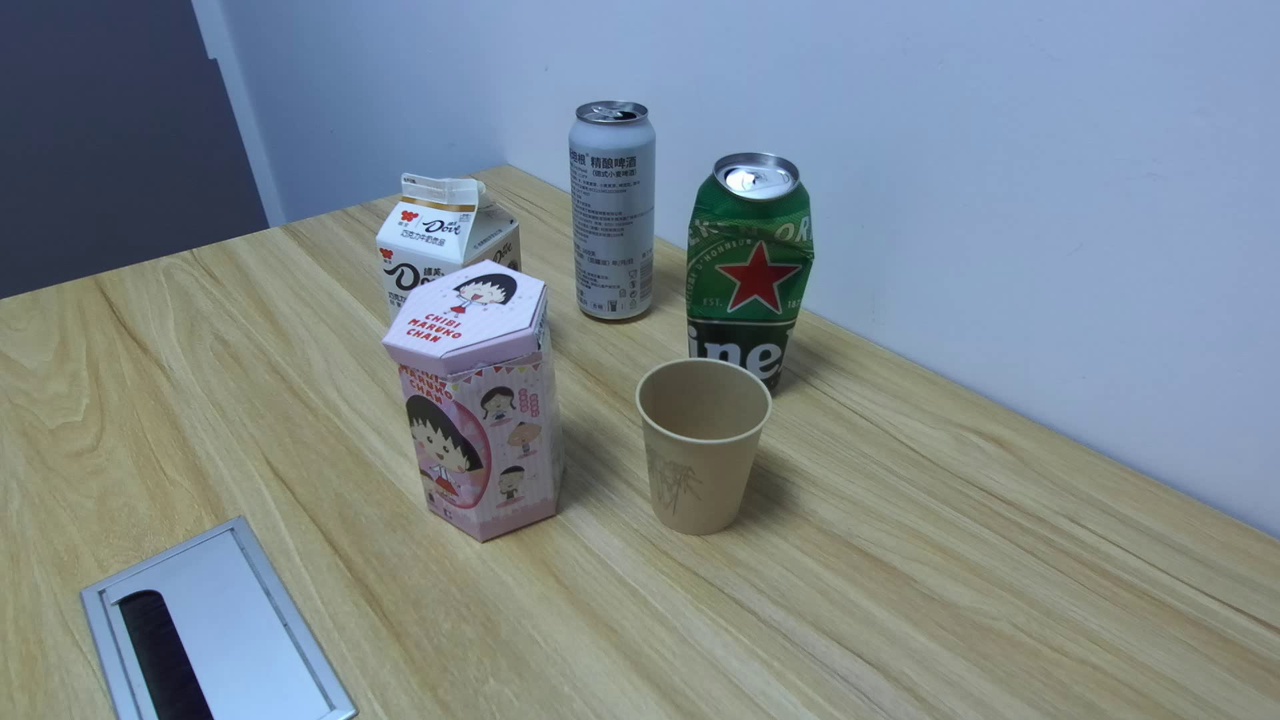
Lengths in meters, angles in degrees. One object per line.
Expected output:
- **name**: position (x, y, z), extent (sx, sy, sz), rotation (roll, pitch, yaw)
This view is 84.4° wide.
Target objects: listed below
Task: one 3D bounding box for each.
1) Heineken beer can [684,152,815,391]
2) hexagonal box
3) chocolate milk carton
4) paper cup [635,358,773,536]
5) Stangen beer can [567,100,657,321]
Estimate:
- **Heineken beer can**: position (0.070, -0.049, 0.479), extent (0.068, 0.168, 0.069), rotation (32, 48, 34)
- **hexagonal box**: position (-0.087, 0.024, 0.404), extent (0.092, 0.135, 0.085), rotation (23, 42, 28)
- **chocolate milk carton**: position (-0.134, -0.066, 0.516), extent (0.075, 0.148, 0.074), rotation (17, 40, 19)
- **paper cup**: position (0.034, 0.053, 0.407), extent (0.075, 0.082, 0.075), rotation (0, 37, 0)
- **Stangen beer can**: position (-0.021, -0.116, 0.570), extent (0.067, 0.171, 0.067), rotation (0, 34, 0)
